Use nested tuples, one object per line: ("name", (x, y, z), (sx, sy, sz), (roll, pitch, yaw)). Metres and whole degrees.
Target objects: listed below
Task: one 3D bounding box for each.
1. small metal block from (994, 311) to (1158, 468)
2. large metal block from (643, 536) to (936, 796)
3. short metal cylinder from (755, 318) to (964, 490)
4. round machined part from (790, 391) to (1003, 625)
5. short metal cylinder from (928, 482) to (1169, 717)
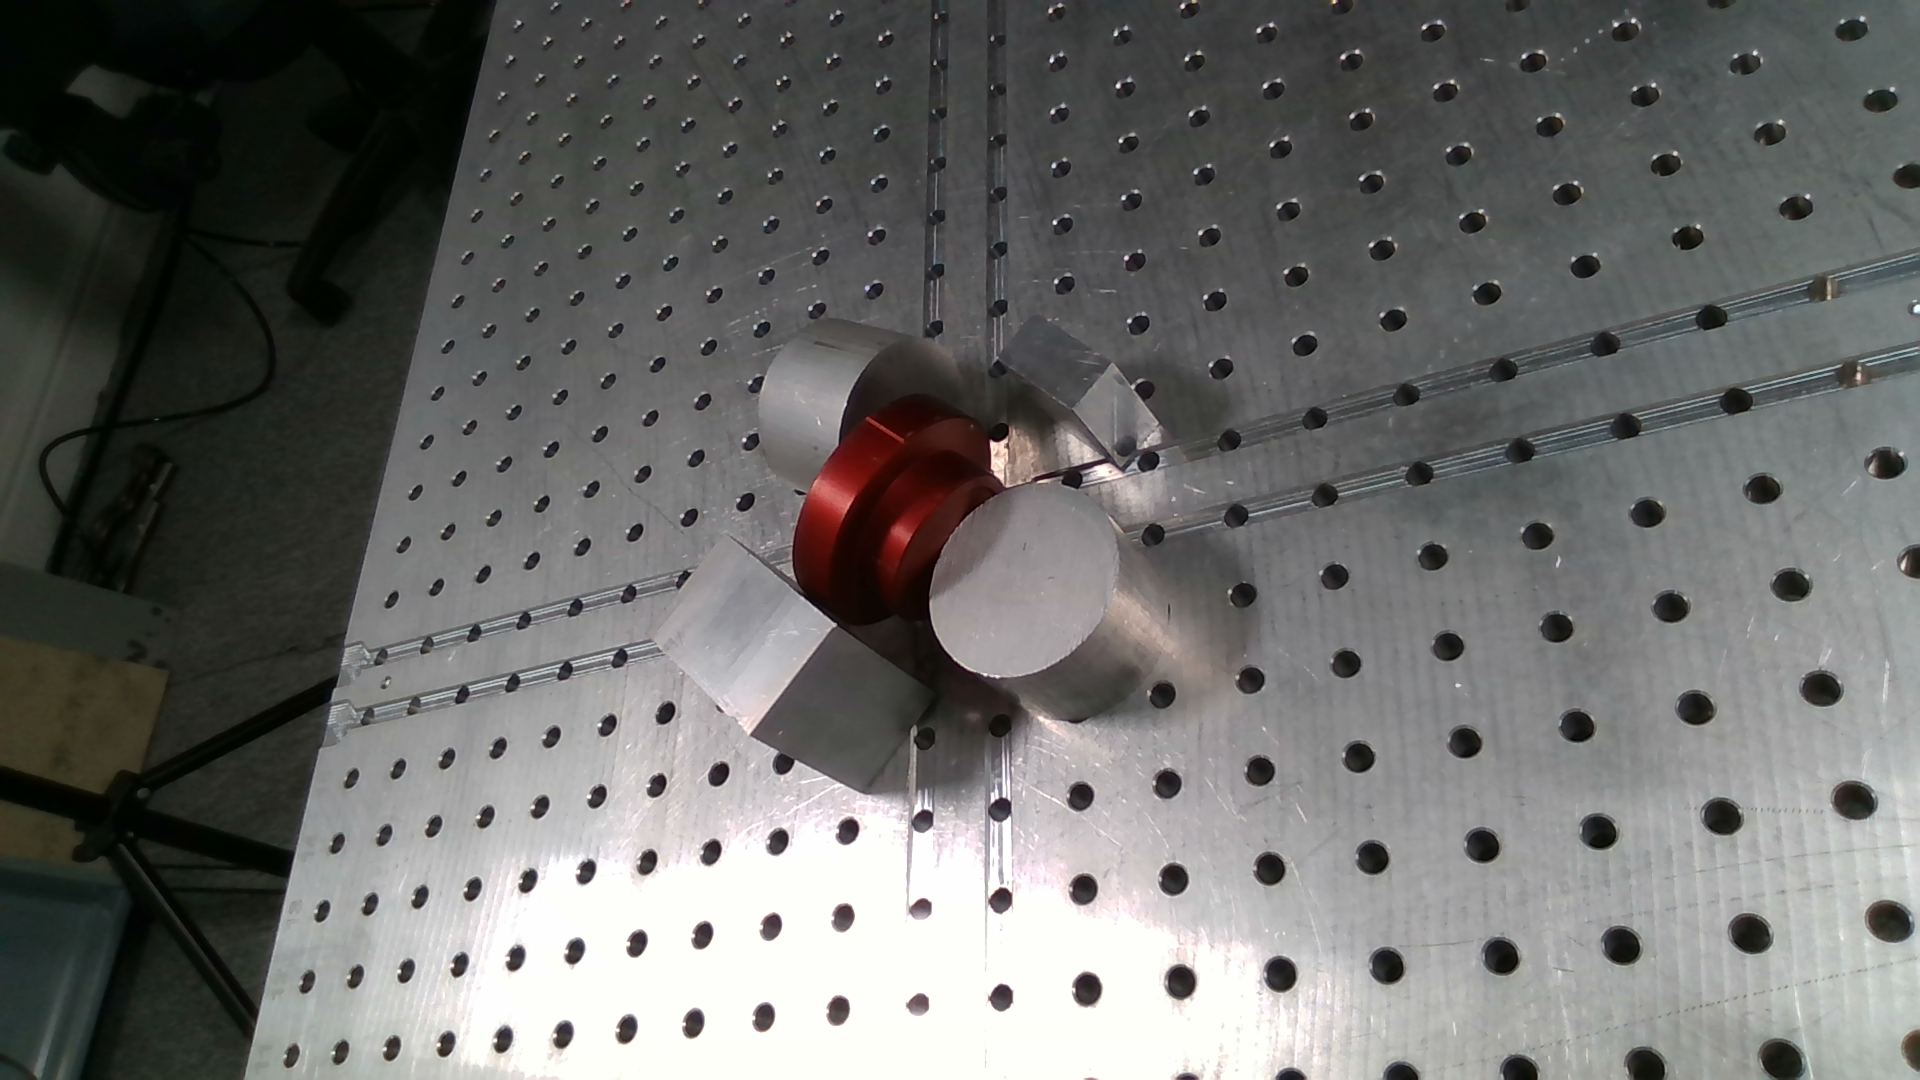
("small metal block", (0.049, -0.063, 0.575), (0.025, 0.050, 0.050), (-50, 51, 0))
("large metal block", (-0.070, 0.052, 0.569), (0.080, 0.080, 0.050), (34, 86, 39))
("short metal cylinder", (-0.043, -0.054, 0.608), (0.050, 0.080, 0.080), (19, 76, 37))
("round machined part", (-0.019, -0.007, 0.558), (0.042, 0.098, 0.098), (33, 85, 27))
("short metal cylinder", (0.035, 0.024, 0.538), (0.080, 0.050, 0.080), (-14, 59, 25))
